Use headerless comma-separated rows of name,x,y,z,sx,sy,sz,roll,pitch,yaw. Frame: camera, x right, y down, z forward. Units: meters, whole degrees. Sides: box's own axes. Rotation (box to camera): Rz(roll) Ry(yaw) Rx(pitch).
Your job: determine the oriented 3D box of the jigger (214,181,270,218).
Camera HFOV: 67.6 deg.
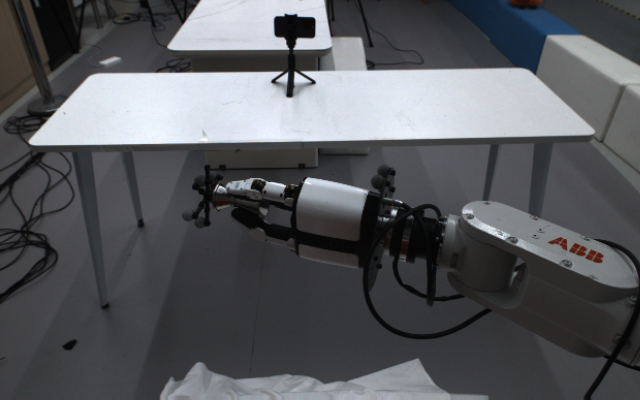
jigger,-0.101,-0.003,0.662,0.071,0.043,0.043,7,35,12
